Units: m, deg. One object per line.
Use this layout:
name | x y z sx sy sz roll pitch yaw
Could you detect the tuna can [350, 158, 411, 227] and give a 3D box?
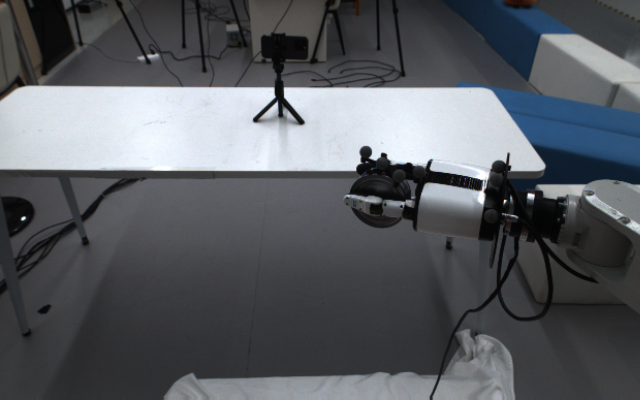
tuna can | 0.090 -0.005 0.704 0.085 0.085 0.034 16 28 19
